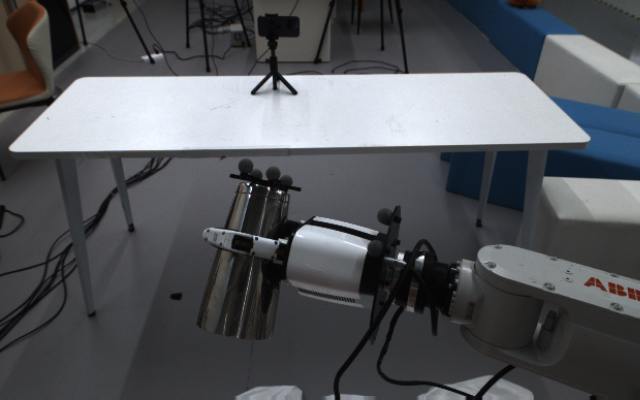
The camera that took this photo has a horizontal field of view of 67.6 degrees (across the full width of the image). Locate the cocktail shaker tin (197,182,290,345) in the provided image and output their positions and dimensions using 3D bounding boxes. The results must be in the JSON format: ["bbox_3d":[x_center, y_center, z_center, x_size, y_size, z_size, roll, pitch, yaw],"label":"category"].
[{"bbox_3d":[-0.083,0.071,0.580,0.093,0.170,0.093,11,-5,1],"label":"cocktail shaker tin"}]
